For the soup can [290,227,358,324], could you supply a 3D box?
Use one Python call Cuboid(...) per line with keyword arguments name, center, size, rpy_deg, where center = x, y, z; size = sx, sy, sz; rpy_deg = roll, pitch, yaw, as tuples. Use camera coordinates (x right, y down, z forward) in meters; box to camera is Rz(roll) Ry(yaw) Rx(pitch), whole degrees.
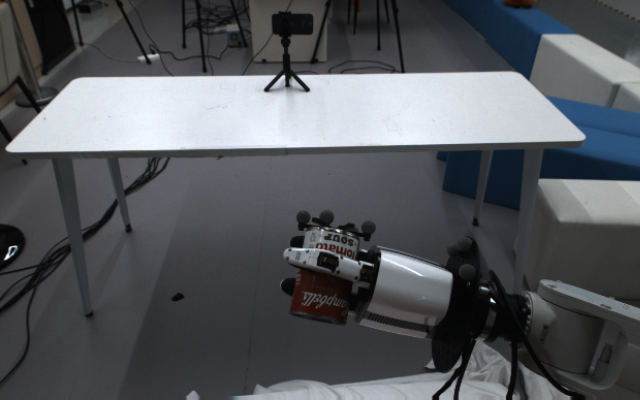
Cuboid(name="soup can", center=(0.008, 0.089, 0.562), size=(0.067, 0.067, 0.101), rpy_deg=(8, 71, 9))
